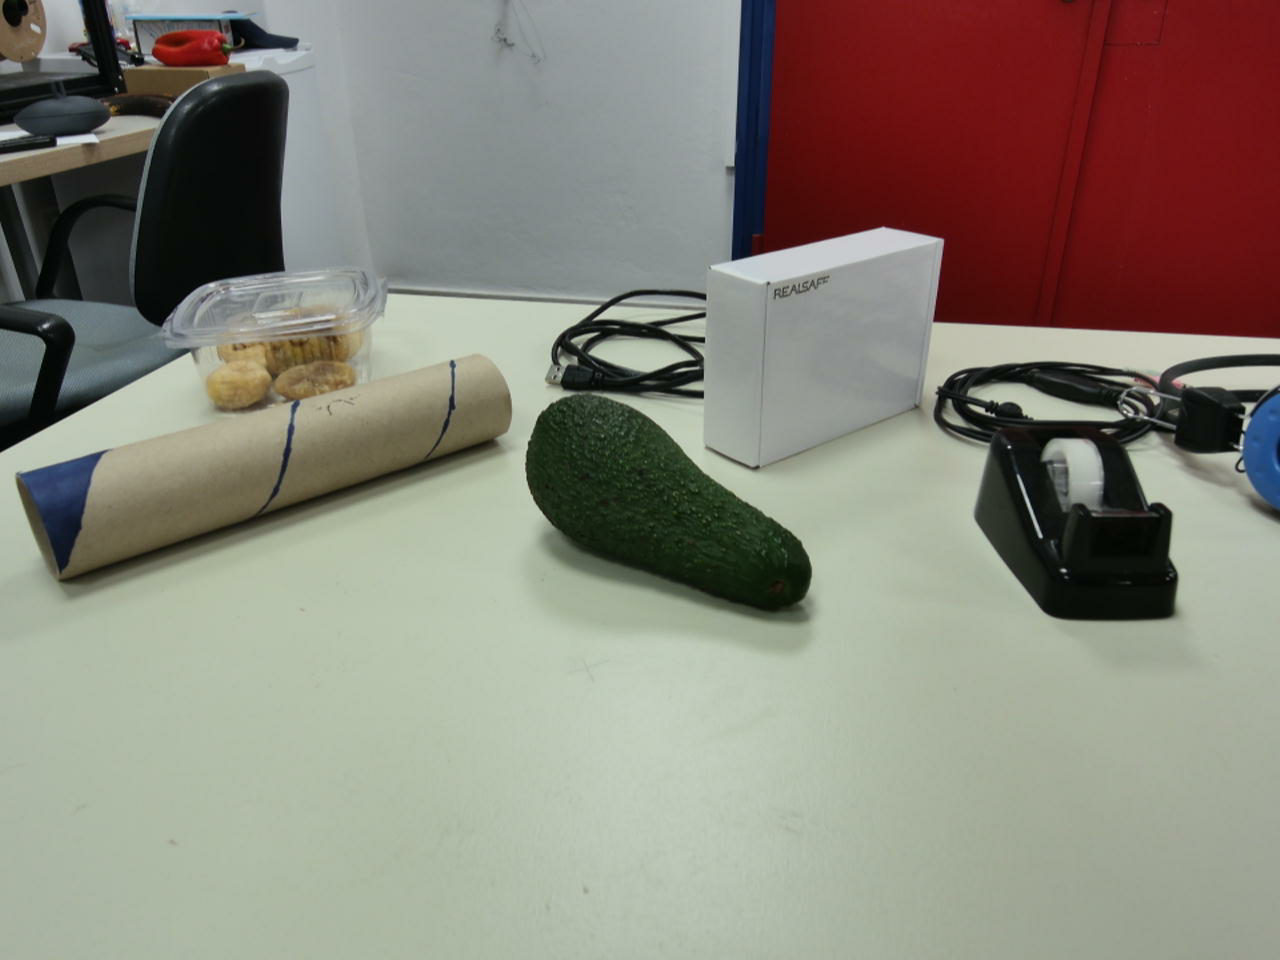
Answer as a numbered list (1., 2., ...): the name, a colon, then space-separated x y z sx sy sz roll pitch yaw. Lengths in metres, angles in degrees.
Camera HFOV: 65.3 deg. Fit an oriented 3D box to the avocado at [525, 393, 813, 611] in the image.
1. avocado: 0.012 0.004 0.418 0.141 0.067 0.063 12 27 26
